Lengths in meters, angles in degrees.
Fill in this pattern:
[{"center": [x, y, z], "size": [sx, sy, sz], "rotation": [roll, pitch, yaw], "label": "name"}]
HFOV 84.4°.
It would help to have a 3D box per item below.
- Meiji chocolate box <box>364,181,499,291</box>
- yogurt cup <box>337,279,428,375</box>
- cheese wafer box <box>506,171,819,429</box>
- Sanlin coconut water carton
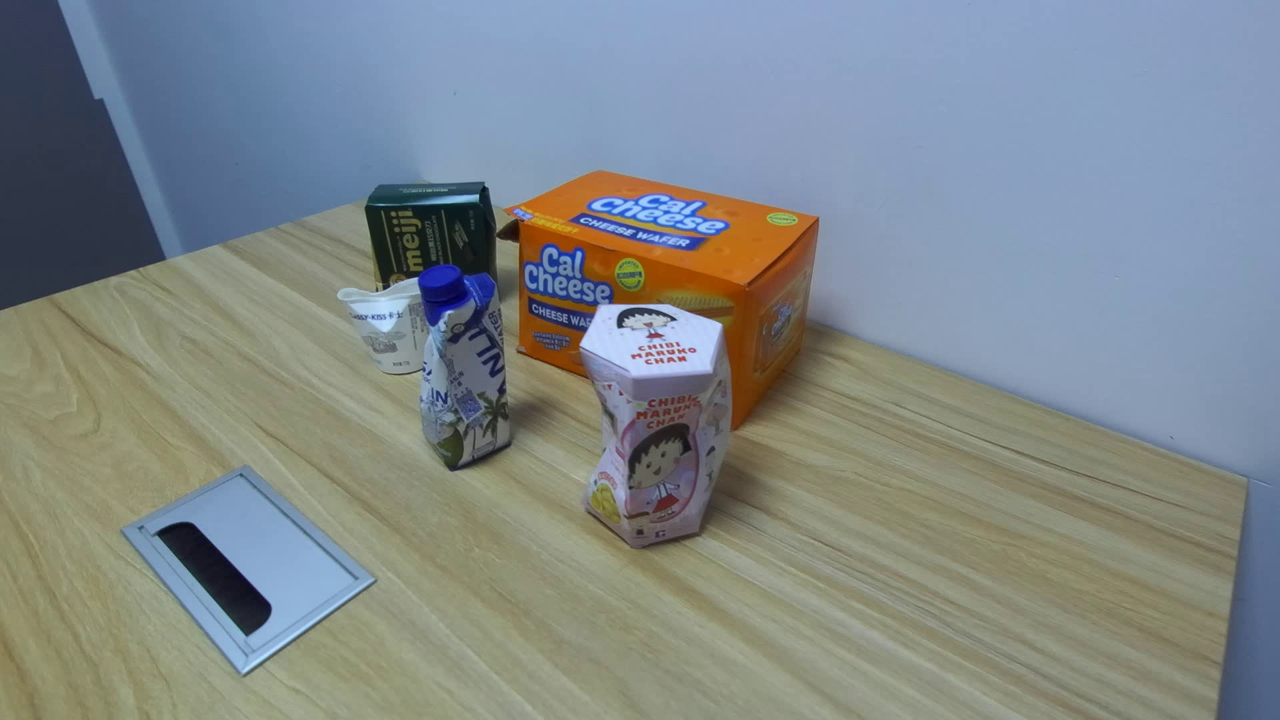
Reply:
[{"center": [-0.199, -0.113, 0.688], "size": [0.122, 0.116, 0.058], "rotation": [0, 34, -2], "label": "Meiji chocolate box"}, {"center": [-0.205, -0.032, 0.600], "size": [0.076, 0.071, 0.053], "rotation": [-26, 41, -32], "label": "yogurt cup"}, {"center": [0.016, -0.064, 0.598], "size": [0.226, 0.137, 0.150], "rotation": [20, 39, 26], "label": "cheese wafer box"}, {"center": [-0.118, 0.003, 0.495], "size": [0.069, 0.144, 0.056], "rotation": [-16, 42, -37], "label": "Sanlin coconut water carton"}]
